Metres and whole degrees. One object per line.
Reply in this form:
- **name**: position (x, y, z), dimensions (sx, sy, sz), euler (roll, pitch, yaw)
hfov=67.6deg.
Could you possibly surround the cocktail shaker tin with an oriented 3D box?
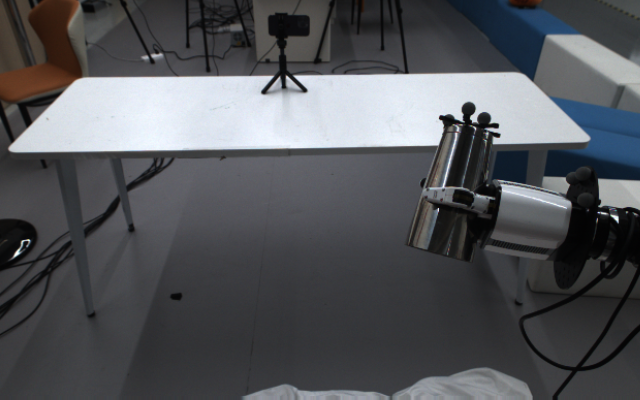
- **cocktail shaker tin**: position (0.179, -0.011, 0.650), dimensions (0.093, 0.170, 0.093), euler (16, -4, 1)
